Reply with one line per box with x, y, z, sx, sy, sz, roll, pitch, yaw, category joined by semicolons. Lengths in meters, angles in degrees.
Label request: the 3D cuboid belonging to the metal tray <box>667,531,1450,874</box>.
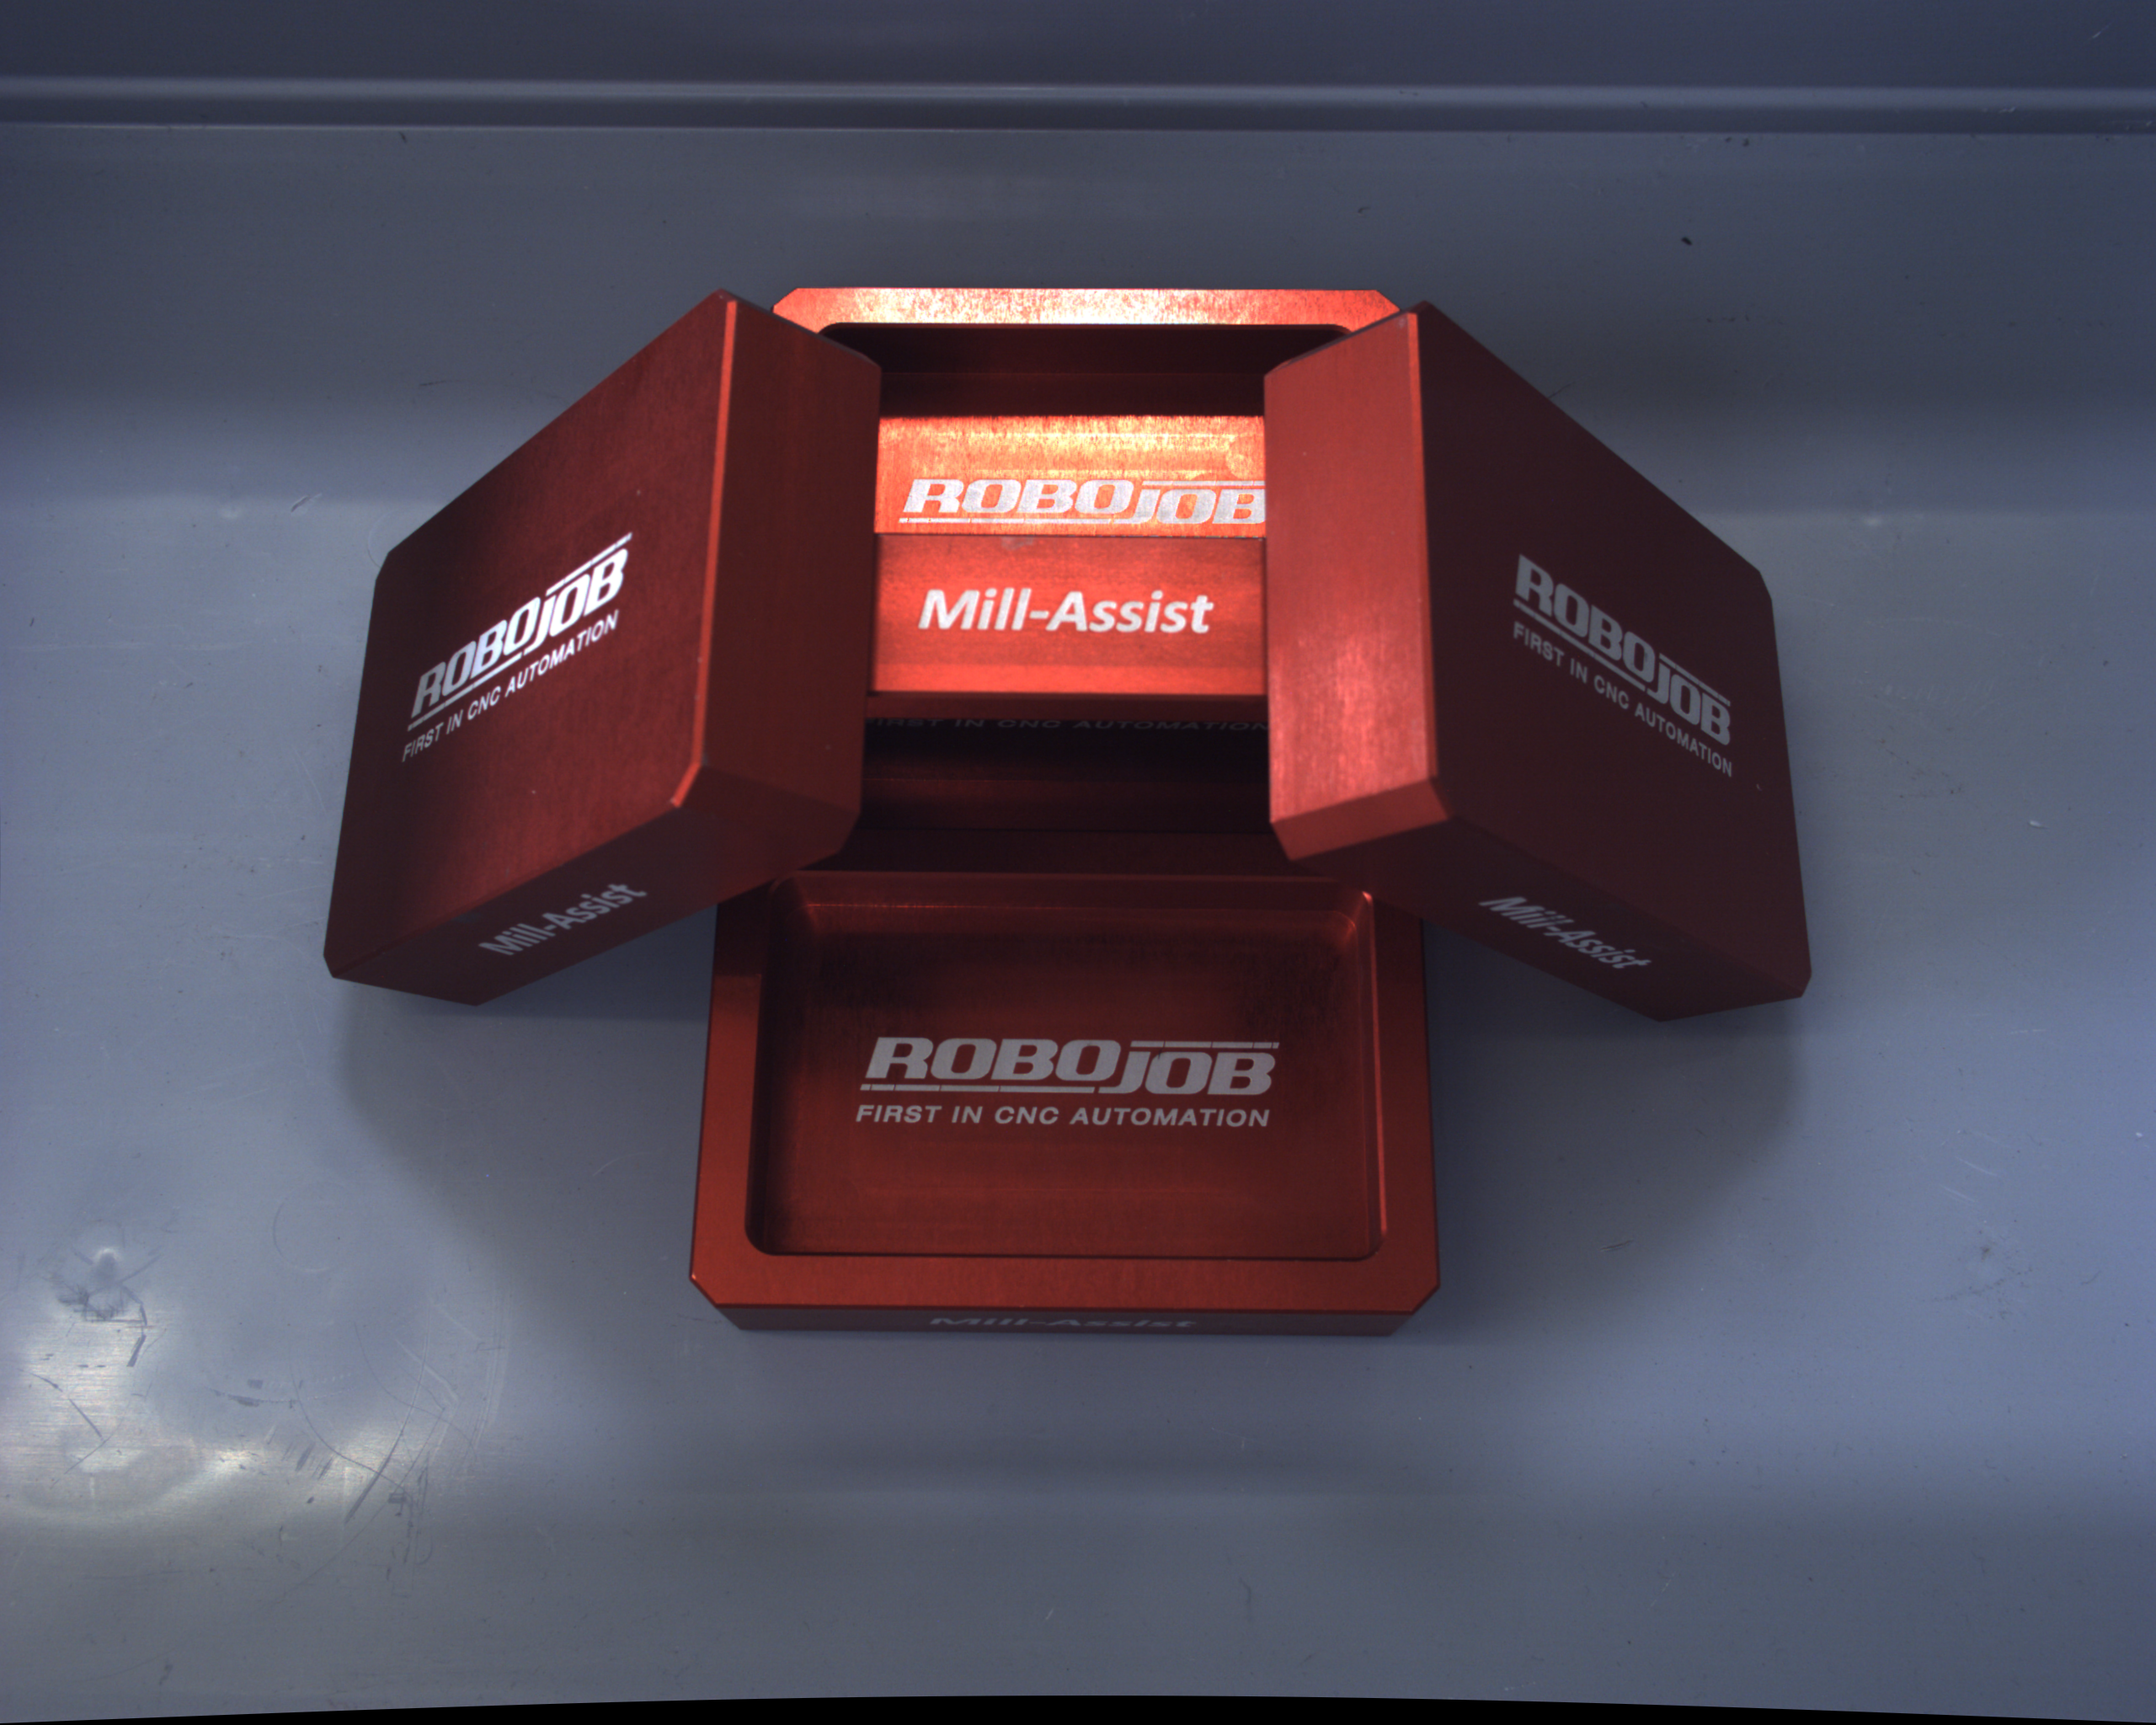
-0.003;-0.026;0.383;0.131;0.090;0.030;1;70;-1;metal tray

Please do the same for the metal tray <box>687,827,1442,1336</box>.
-0.002;0.041;0.388;0.131;0.030;0.090;1;70;-1;metal tray

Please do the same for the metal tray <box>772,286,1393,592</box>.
0.002;-0.073;0.431;0.131;0.030;0.090;0;70;-1;metal tray

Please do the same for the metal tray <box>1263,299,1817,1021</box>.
0.085;-0.030;0.370;0.030;0.131;0.090;-17;64;40;metal tray

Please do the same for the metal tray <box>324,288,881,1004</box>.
-0.087;-0.032;0.370;0.030;0.130;0.090;18;64;-39;metal tray
